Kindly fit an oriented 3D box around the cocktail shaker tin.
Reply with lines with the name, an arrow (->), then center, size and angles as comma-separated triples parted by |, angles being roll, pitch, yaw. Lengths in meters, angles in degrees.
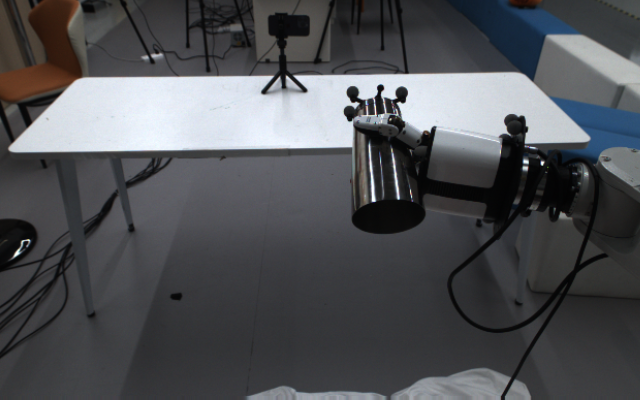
cocktail shaker tin -> 0.082, -0.052, 0.639 | 0.093, 0.093, 0.170 | 0, 59, -3
